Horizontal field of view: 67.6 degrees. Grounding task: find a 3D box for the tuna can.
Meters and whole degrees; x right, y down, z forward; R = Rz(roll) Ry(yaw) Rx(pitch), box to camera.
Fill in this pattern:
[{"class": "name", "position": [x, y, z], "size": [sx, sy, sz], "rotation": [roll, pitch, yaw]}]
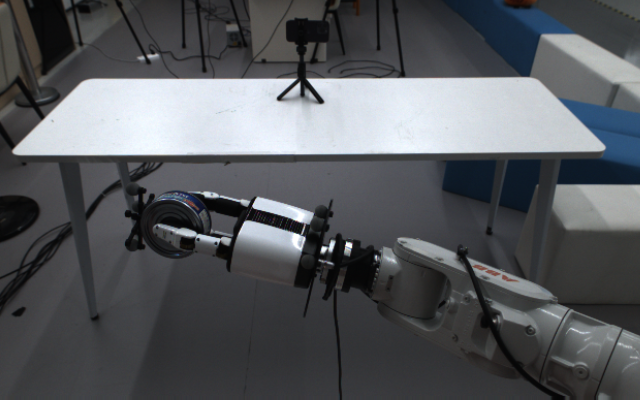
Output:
[{"class": "tuna can", "position": [-0.186, 0.037, 0.630], "size": [0.085, 0.085, 0.034], "rotation": [4, 19, 3]}]
